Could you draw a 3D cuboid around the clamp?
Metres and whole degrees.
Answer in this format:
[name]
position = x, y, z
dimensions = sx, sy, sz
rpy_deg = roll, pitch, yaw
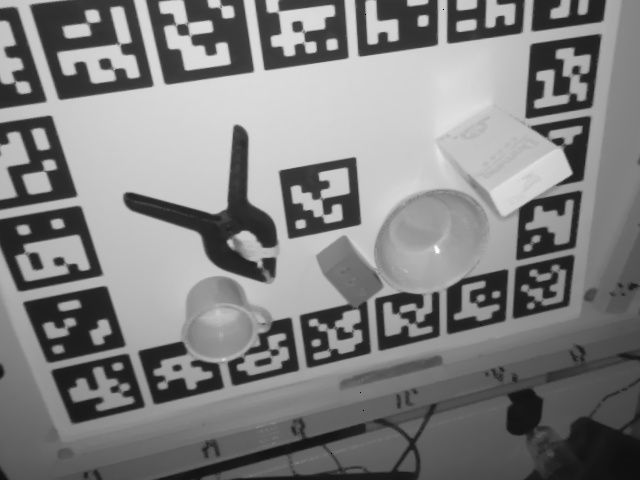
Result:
[clamp]
position = -0.096, -0.009, 0.842
dimensions = 0.165, 0.036, 0.203
rpy_deg = -35, 118, 3

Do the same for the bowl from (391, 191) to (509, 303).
[bowl]
position = 0.163, 0.000, 0.905
dimensions = 0.163, 0.055, 0.160
rpy_deg = -5, 118, -10

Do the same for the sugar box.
[sugar box]
position = 0.225, -0.104, 0.799
dimensions = 0.092, 0.177, 0.045
rpy_deg = -34, 117, 8

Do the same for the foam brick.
[foam brick]
position = 0.053, 0.046, 0.911
dimensions = 0.052, 0.051, 0.078
rpy_deg = -38, 117, 7

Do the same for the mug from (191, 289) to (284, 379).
[mug]
position = -0.104, 0.117, 0.883
dimensions = 0.118, 0.082, 0.092
rpy_deg = 12, 114, -15
